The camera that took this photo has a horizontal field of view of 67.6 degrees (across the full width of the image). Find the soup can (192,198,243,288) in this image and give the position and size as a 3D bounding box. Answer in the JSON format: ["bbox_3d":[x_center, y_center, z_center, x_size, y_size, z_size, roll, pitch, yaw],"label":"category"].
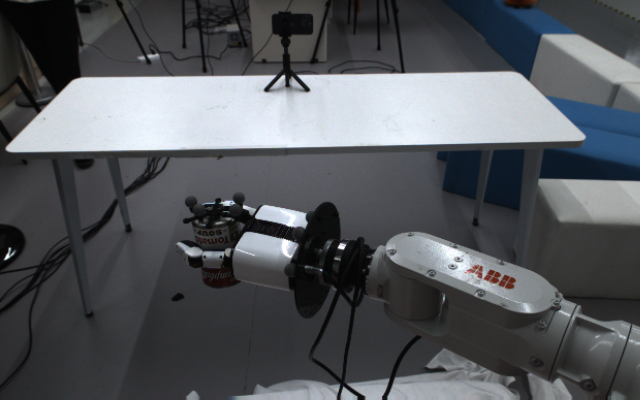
[{"bbox_3d":[-0.144,0.068,0.704,0.067,0.101,0.067,-4,25,2],"label":"soup can"}]
